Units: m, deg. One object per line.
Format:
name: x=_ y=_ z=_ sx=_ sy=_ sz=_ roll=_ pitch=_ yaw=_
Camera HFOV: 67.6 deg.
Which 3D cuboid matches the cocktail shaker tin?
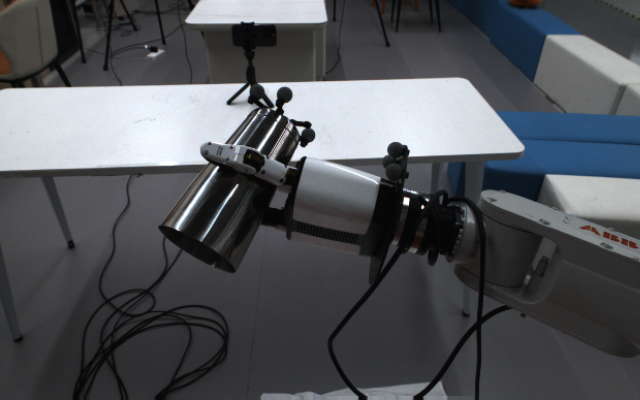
cocktail shaker tin: x=-0.087 y=-0.019 z=0.531 sx=0.093 sy=0.093 sz=0.170 roll=18 pitch=66 yaw=22
